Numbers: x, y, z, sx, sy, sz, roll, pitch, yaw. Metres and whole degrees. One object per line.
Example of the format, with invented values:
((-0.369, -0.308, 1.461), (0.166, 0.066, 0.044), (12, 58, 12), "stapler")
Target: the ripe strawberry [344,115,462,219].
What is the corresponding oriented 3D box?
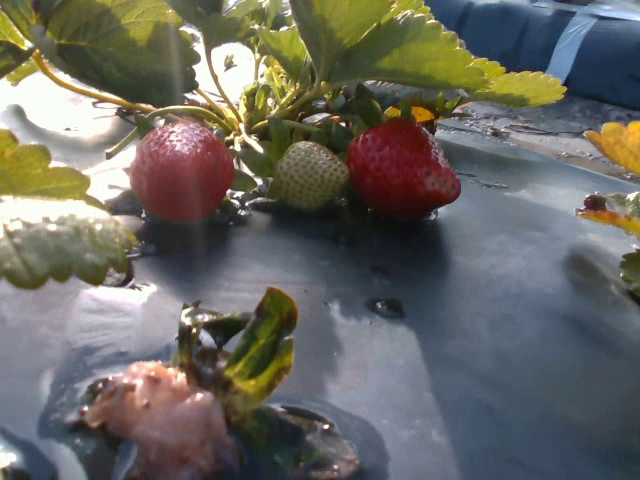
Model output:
((0.038, -0.030, 0.261), (0.050, 0.048, 0.065), (48, 0, -44), "ripe strawberry")
